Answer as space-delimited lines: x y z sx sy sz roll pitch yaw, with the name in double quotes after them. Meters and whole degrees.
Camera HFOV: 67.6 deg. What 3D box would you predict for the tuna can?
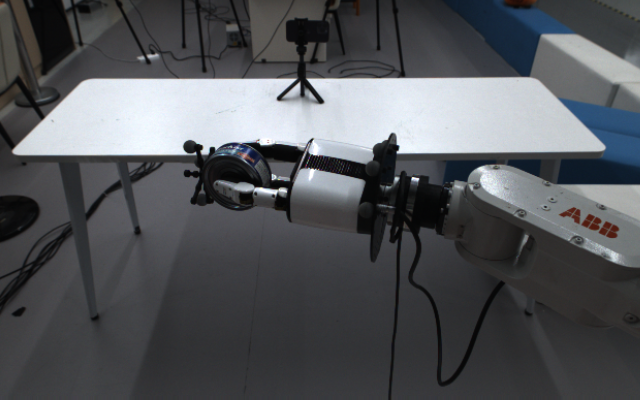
-0.106 -0.031 0.628 0.085 0.085 0.034 9 33 10 "tuna can"
